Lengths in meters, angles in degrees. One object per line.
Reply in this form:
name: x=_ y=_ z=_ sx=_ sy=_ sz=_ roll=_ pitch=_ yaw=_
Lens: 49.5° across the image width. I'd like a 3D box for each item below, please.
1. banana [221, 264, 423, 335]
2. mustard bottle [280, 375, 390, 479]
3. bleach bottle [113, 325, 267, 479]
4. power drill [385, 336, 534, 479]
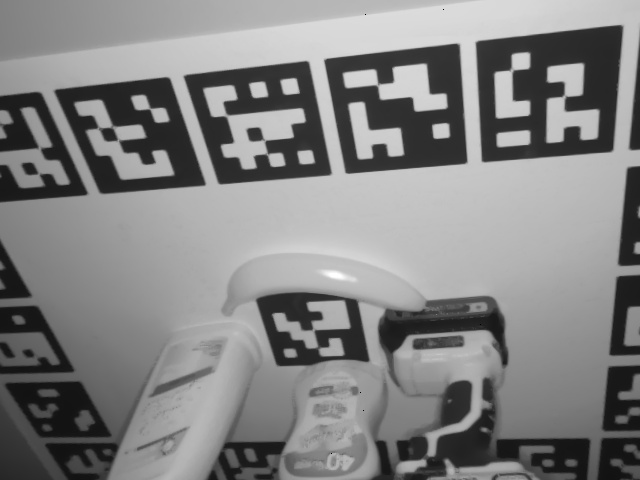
banana: x=-0.002 y=0.057 z=0.657 sx=0.197 sy=0.039 sz=0.074 roll=-1 pitch=119 yaw=7
mustard bottle: x=0.013 y=0.217 z=0.669 sx=0.096 sy=0.194 sz=0.058 roll=-1 pitch=123 yaw=12
bleach bottle: x=-0.126 y=0.186 z=0.644 sx=0.102 sy=0.253 sz=0.067 roll=-10 pitch=120 yaw=16
power drill: x=0.101 y=0.172 z=0.604 sx=0.183 sy=0.189 sz=0.057 roll=-4 pitch=129 yaw=15
